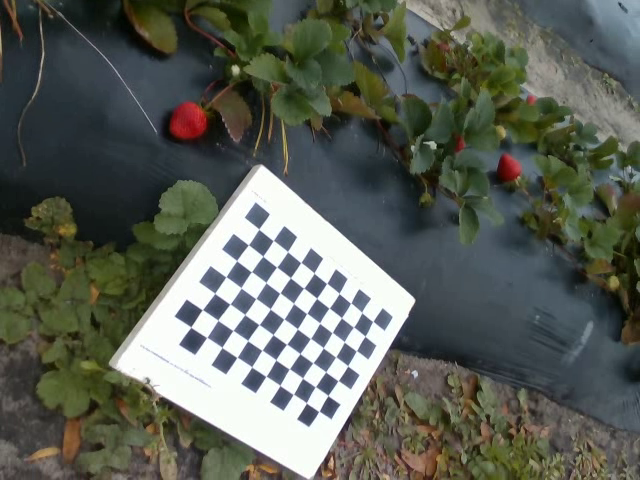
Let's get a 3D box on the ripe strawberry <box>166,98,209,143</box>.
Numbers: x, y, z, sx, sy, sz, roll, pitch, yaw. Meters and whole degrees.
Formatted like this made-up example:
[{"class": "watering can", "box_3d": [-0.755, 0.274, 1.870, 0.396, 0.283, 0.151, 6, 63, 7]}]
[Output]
[{"class": "ripe strawberry", "box_3d": [-0.097, -0.087, 0.397, 0.032, 0.029, 0.022, -43, 16, -23]}]
